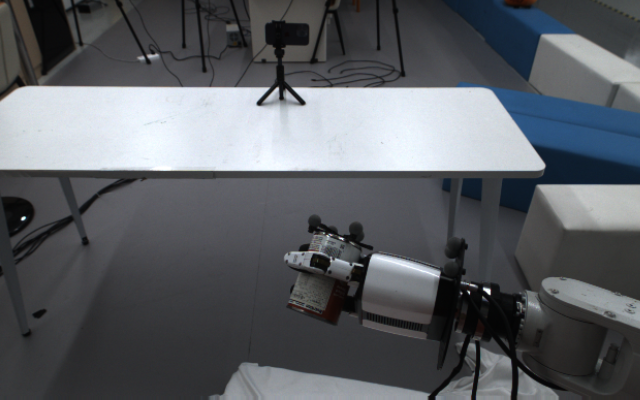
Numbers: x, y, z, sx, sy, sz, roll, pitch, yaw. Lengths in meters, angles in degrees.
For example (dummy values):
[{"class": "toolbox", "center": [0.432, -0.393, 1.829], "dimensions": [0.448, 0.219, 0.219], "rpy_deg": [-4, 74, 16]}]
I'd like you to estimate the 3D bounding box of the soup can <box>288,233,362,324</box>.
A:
[{"class": "soup can", "center": [0.009, 0.099, 0.610], "dimensions": [0.067, 0.067, 0.101], "rpy_deg": [15, 74, 18]}]
